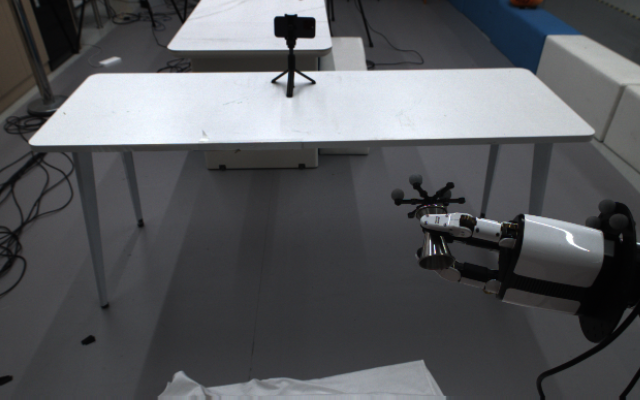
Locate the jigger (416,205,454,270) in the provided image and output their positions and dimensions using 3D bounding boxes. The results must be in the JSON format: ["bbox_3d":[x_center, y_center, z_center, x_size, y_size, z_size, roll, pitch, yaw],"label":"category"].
[{"bbox_3d":[0.138,0.042,0.587,0.043,0.043,0.071,2,59,0],"label":"jigger"}]
